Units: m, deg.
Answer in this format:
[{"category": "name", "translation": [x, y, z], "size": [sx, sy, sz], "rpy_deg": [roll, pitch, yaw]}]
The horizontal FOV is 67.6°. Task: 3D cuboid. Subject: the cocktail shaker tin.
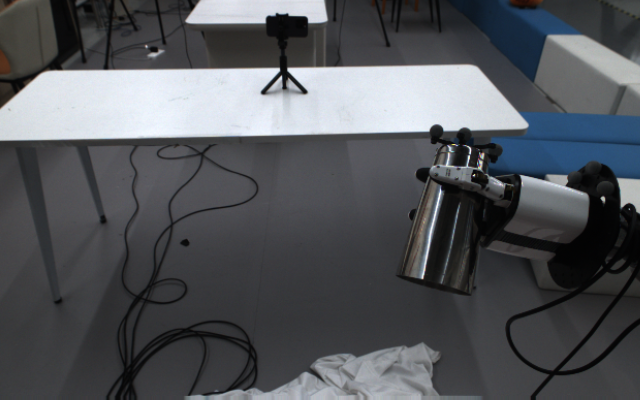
[{"category": "cocktail shaker tin", "translation": [0.161, 0.019, 0.597], "size": [0.093, 0.093, 0.170], "rpy_deg": [13, 79, 15]}]
